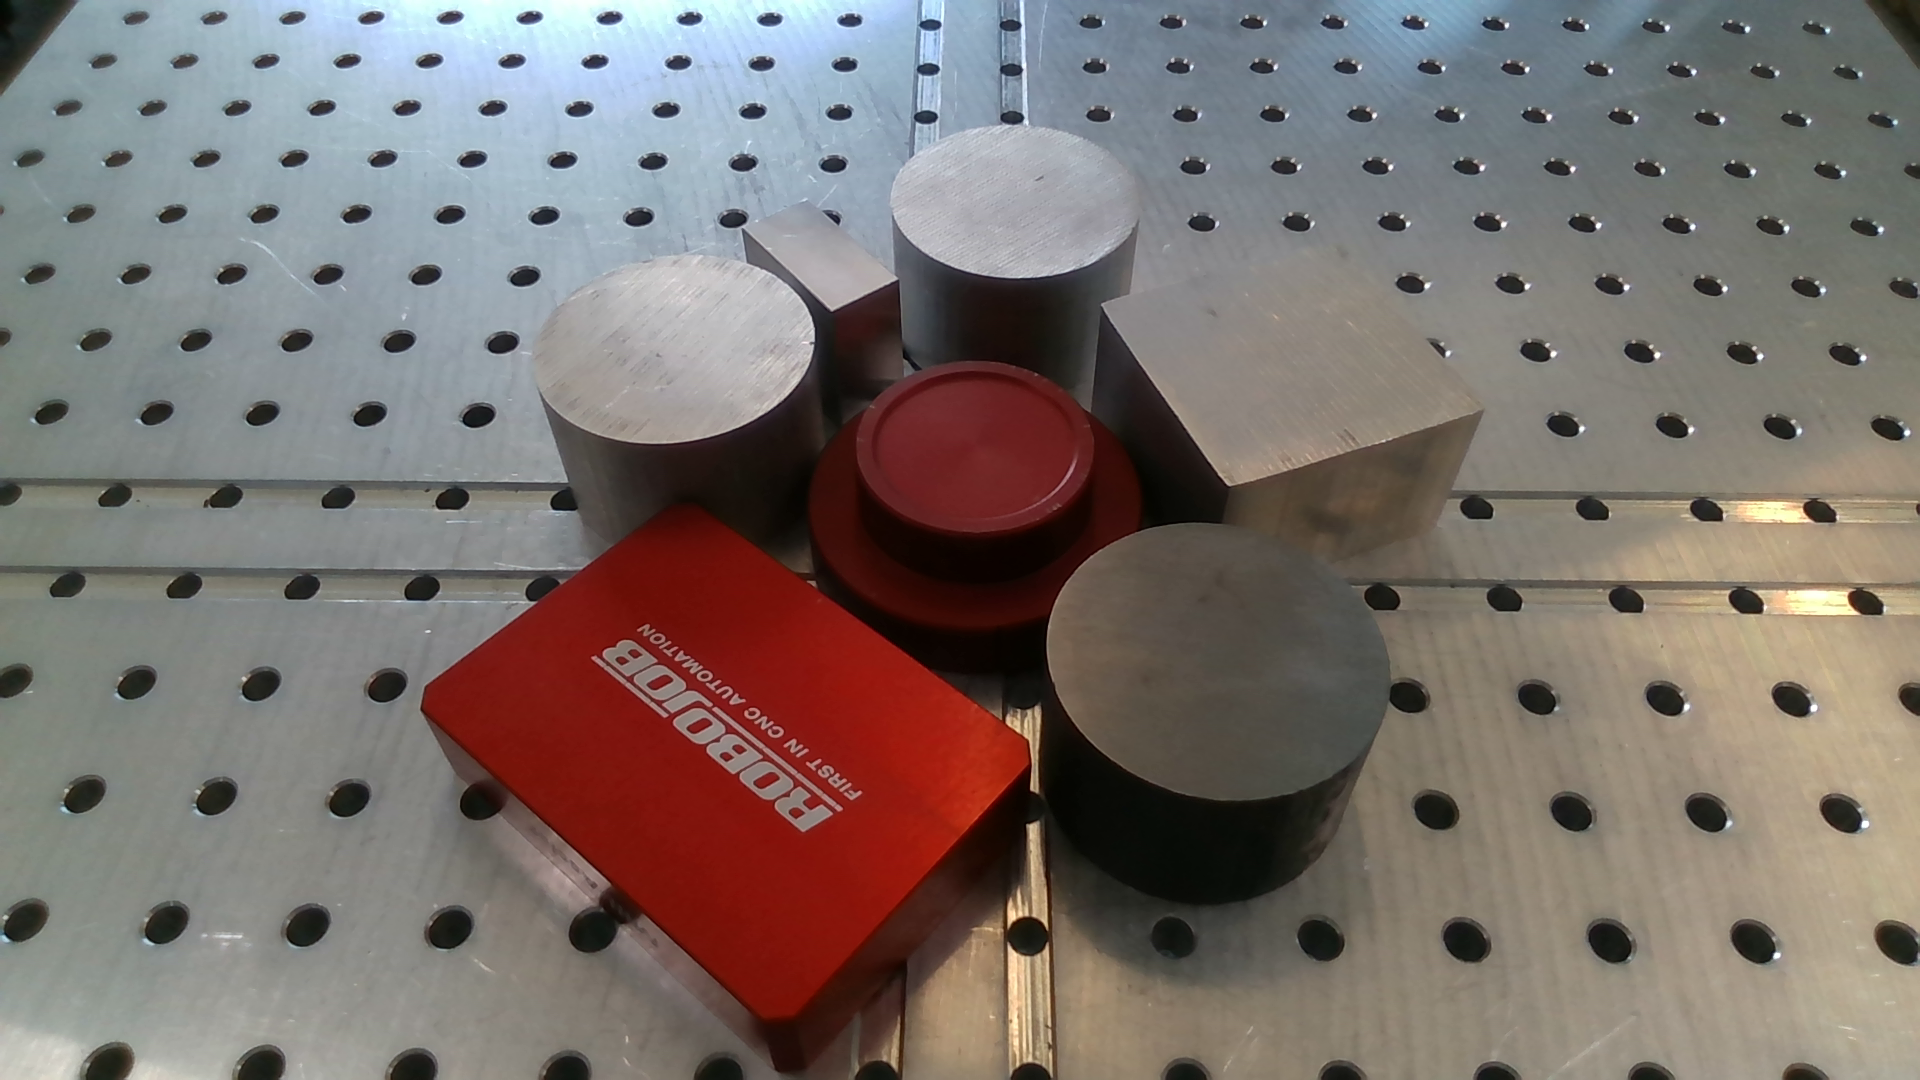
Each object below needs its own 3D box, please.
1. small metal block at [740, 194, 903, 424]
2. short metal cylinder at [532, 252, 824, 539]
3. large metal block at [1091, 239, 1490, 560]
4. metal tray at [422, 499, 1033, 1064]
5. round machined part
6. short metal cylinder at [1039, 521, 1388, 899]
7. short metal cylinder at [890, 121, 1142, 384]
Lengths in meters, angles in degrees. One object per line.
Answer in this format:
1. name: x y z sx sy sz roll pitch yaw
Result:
1. small metal block: -0.043 -0.073 0.441 0.025 0.050 0.050 -31 56 -23
2. short metal cylinder: -0.082 -0.041 0.414 0.080 0.050 0.080 0 50 0
3. large metal block: 0.094 -0.037 0.412 0.080 0.050 0.080 -17 52 -14
4. metal tray: -0.058 0.054 0.348 0.130 0.030 0.090 33 57 24
5. round machined part: 0.004 -0.015 0.397 0.098 0.042 0.098 0 50 0
6. short metal cylinder: 0.060 0.042 0.345 0.080 0.050 0.080 0 50 0
7. short metal cylinder: 0.018 -0.095 0.459 0.080 0.050 0.080 0 50 0
